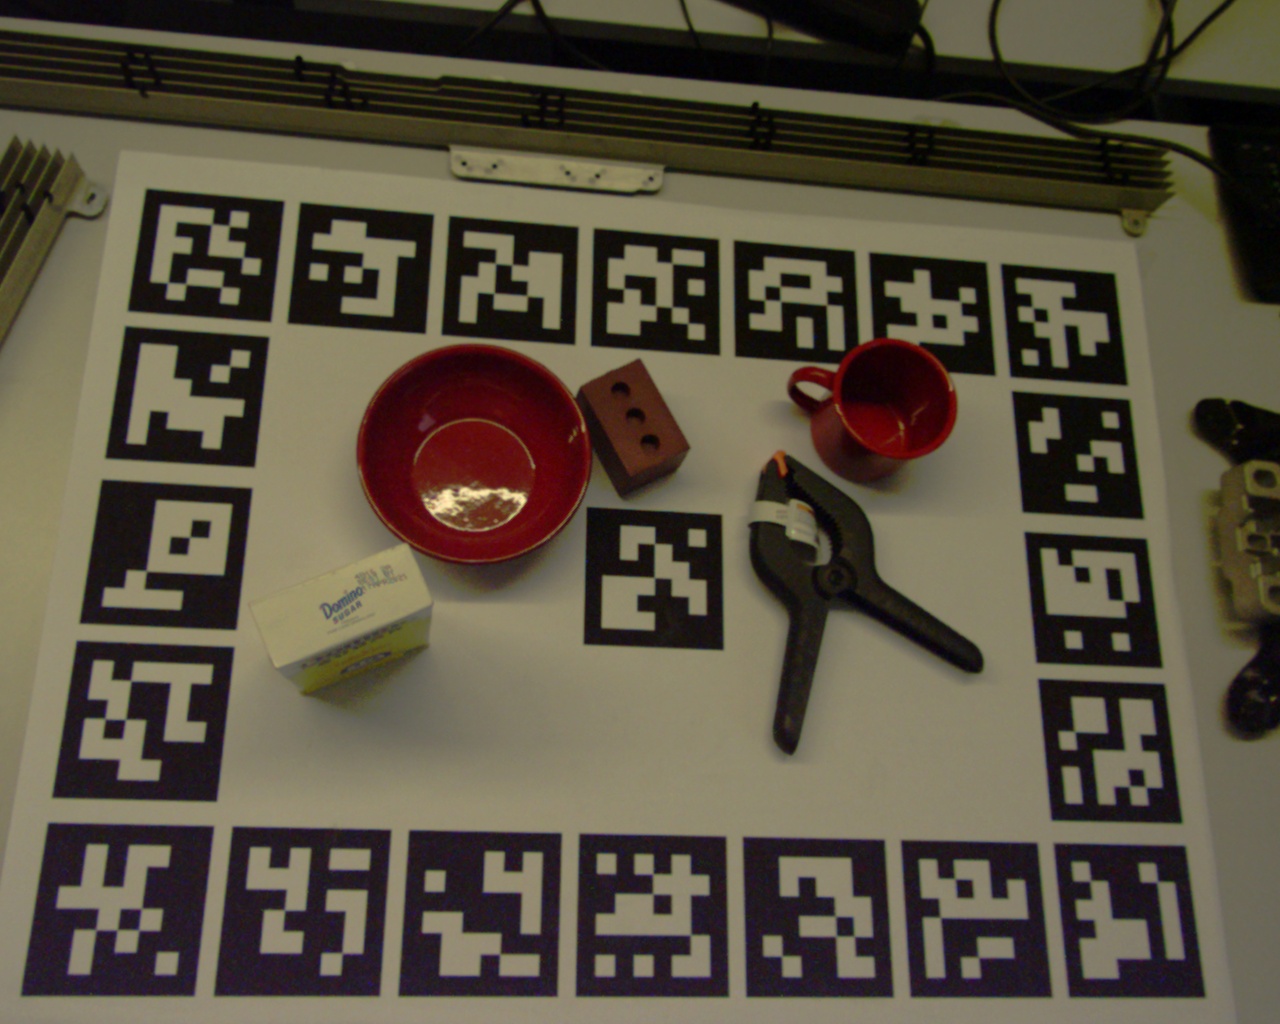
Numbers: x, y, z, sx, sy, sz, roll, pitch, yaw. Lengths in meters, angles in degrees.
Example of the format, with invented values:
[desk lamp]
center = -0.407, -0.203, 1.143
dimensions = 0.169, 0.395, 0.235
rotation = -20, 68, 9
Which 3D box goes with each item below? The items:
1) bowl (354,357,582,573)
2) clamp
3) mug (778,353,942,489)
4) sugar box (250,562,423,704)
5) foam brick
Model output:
[bowl]
center = -0.126, -0.029, 0.834
dimensions = 0.161, 0.055, 0.162
rotation = 2, 75, -9
[clamp]
center = 0.123, 0.057, 0.852
dimensions = 0.164, 0.037, 0.203
rotation = -21, 80, -11
[mug]
center = 0.159, -0.070, 0.872
dimensions = 0.117, 0.082, 0.093
rotation = 28, 73, -4
[sugar box]
center = -0.189, 0.082, 0.732
dimensions = 0.092, 0.177, 0.045
rotation = -22, 82, -16
[foam brick]
center = -0.012, -0.048, 0.864
dimensions = 0.052, 0.051, 0.078
rotation = -25, 81, -13
